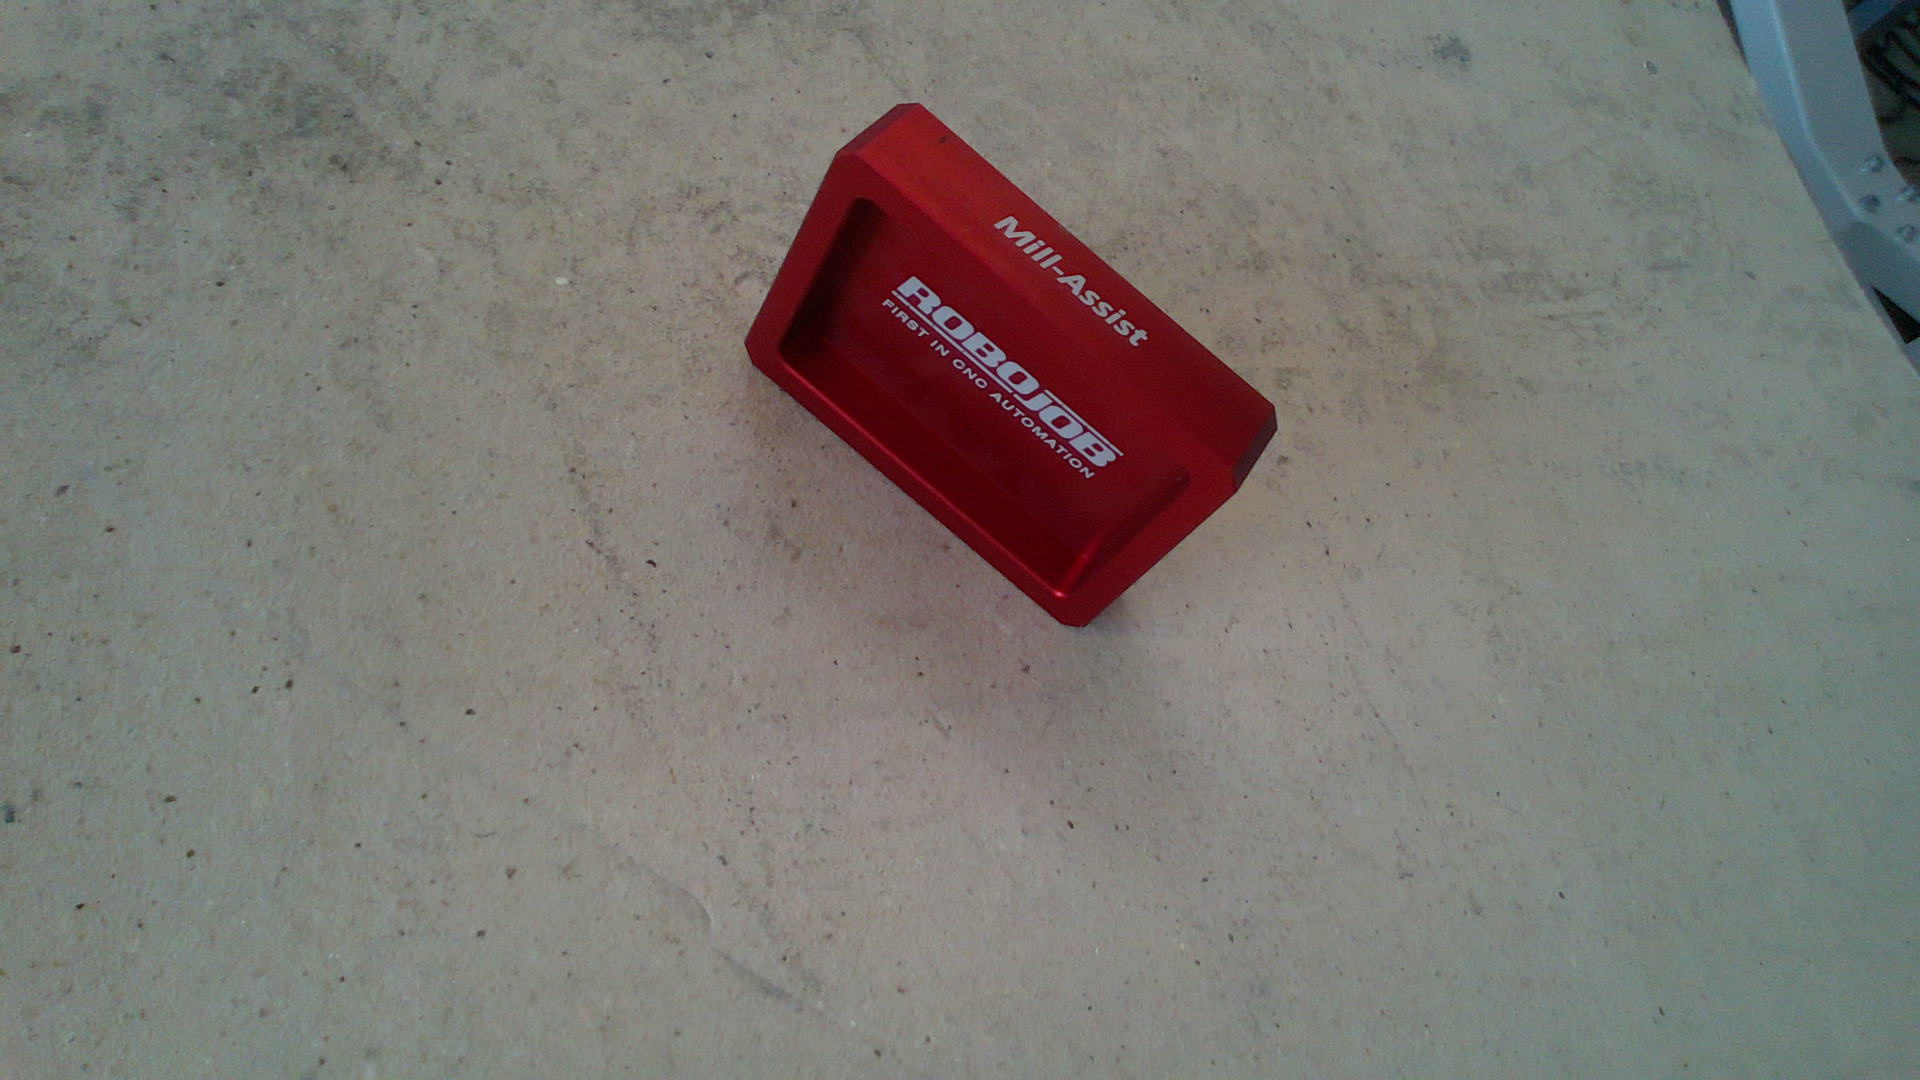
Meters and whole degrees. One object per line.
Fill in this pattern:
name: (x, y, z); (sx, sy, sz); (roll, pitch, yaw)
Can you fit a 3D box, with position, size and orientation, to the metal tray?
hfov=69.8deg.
metal tray: (0.010, -0.044, 0.380); (0.130, 0.090, 0.030); (40, 51, -1)
